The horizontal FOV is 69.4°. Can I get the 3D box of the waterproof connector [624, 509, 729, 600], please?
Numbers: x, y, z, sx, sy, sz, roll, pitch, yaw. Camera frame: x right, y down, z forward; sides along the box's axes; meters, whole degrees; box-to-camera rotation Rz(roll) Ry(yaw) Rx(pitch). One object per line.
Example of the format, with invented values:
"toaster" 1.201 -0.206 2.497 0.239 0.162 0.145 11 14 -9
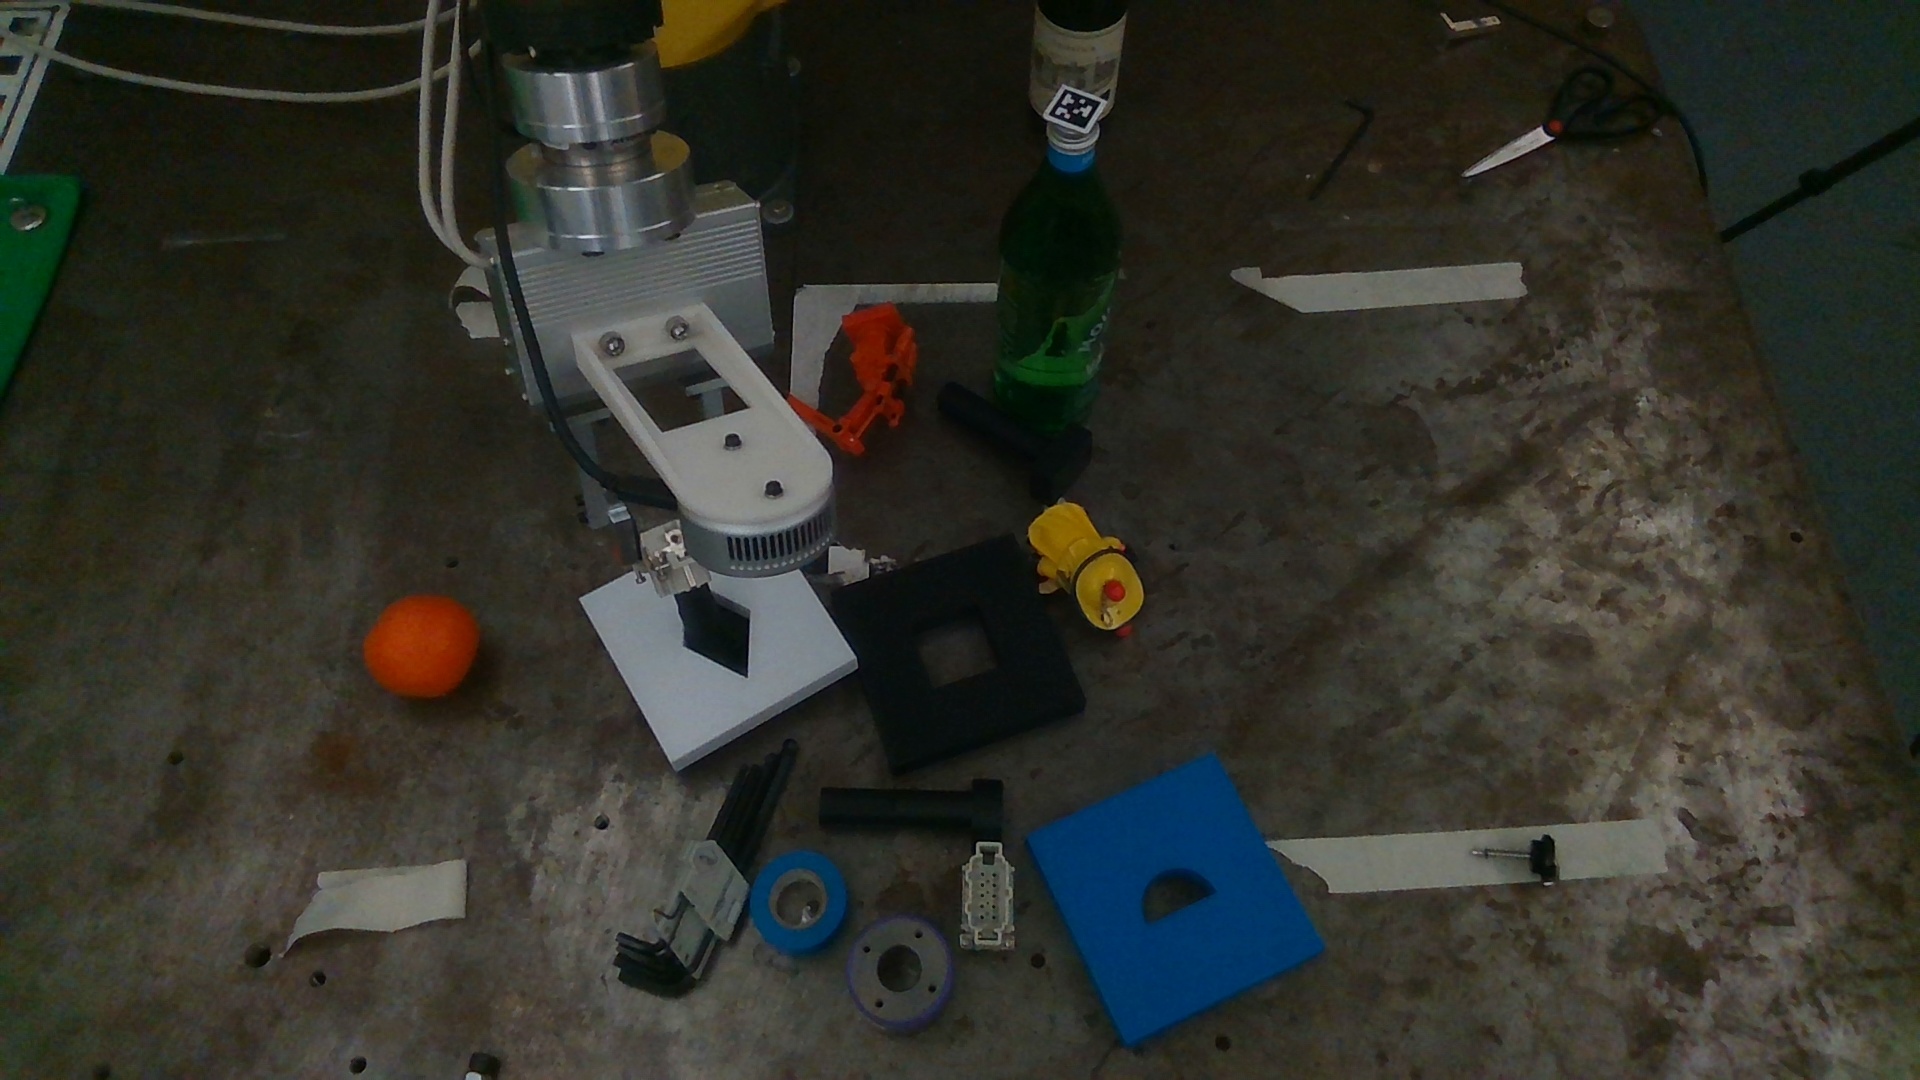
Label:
"waterproof connector" -0.144 0.009 0.704 0.036 0.069 0.038 -22 96 -26
